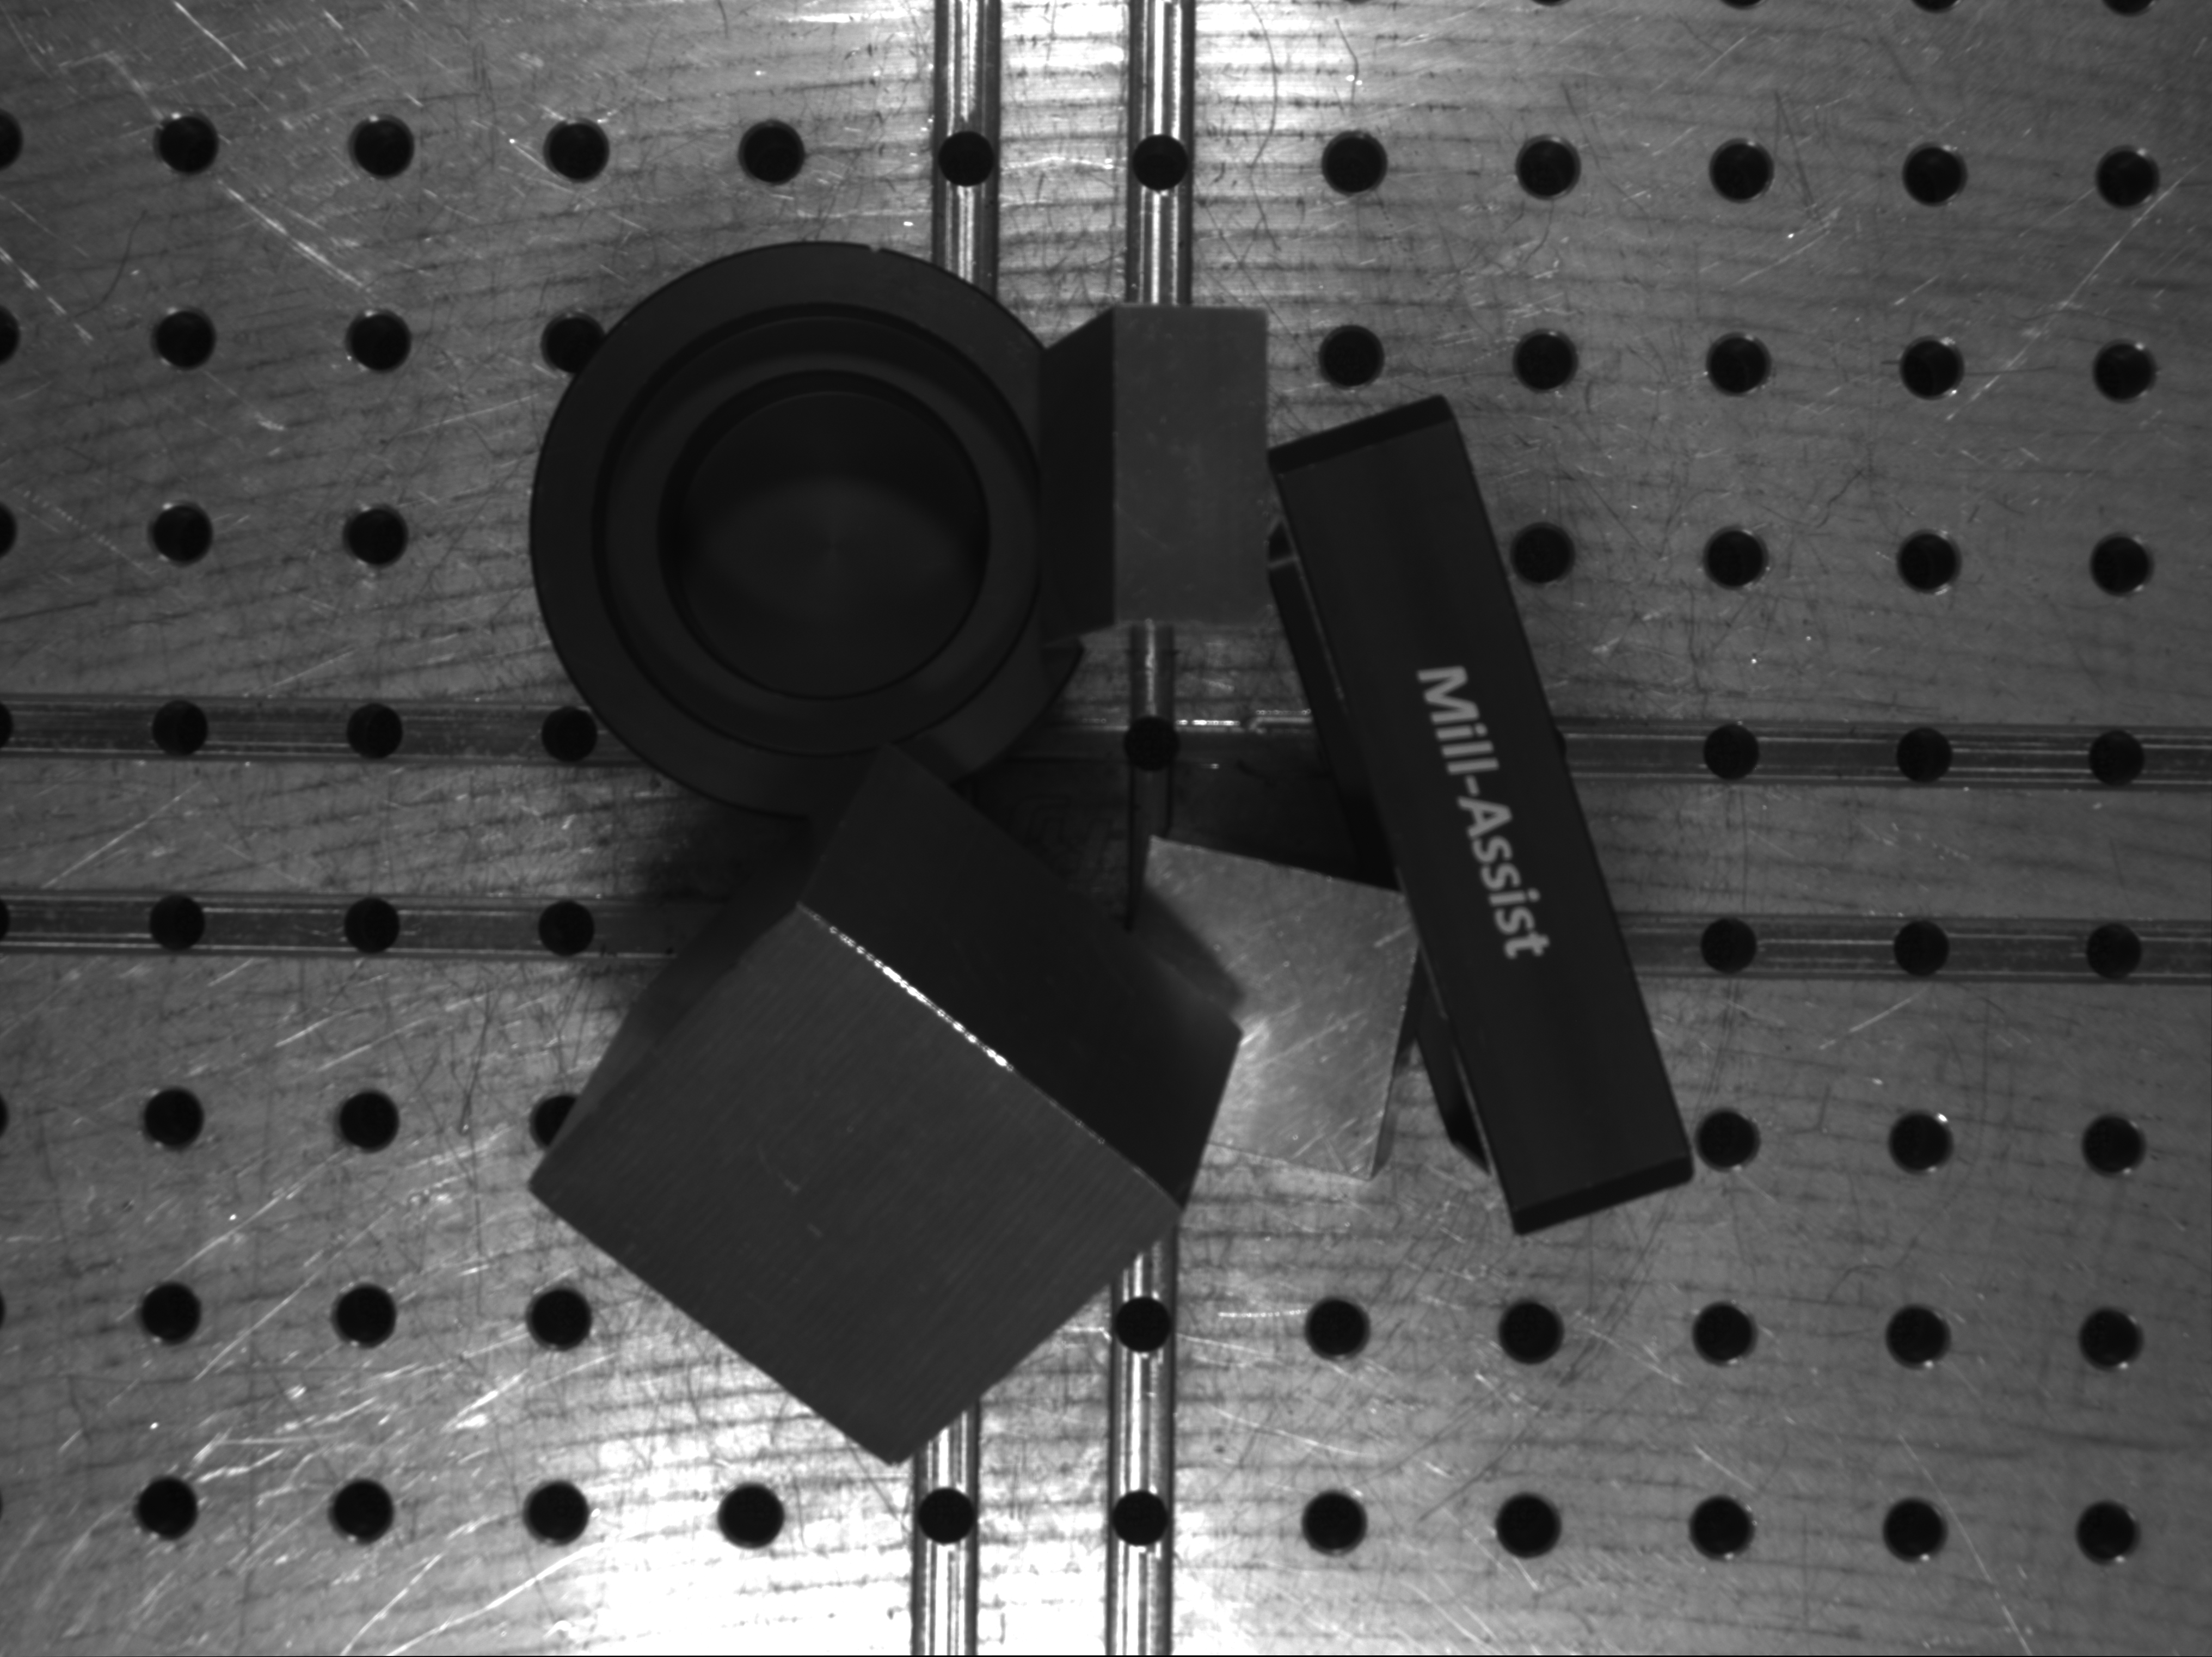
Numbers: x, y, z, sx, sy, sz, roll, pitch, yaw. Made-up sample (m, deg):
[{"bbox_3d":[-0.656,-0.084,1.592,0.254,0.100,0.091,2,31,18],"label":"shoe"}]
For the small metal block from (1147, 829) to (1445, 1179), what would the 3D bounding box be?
[{"bbox_3d":[0.032,0.030,0.643,0.050,0.025,0.050,12,94,11],"label":"small metal block"}]

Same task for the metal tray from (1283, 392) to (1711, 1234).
[{"bbox_3d":[0.061,-0.002,0.616,0.030,0.090,0.130,-18,90,0],"label":"metal tray"}]

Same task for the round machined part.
[{"bbox_3d":[-0.046,-0.050,0.638,0.098,0.042,0.098,0,90,0],"label":"round machined part"}]

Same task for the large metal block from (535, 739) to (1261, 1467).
[{"bbox_3d":[-0.034,0.047,0.612,0.080,0.050,0.080,39,122,-11],"label":"large metal block"}]

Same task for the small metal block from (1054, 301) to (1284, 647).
[{"bbox_3d":[0.010,-0.056,0.594,0.025,0.050,0.050,0,88,-14],"label":"small metal block"}]
